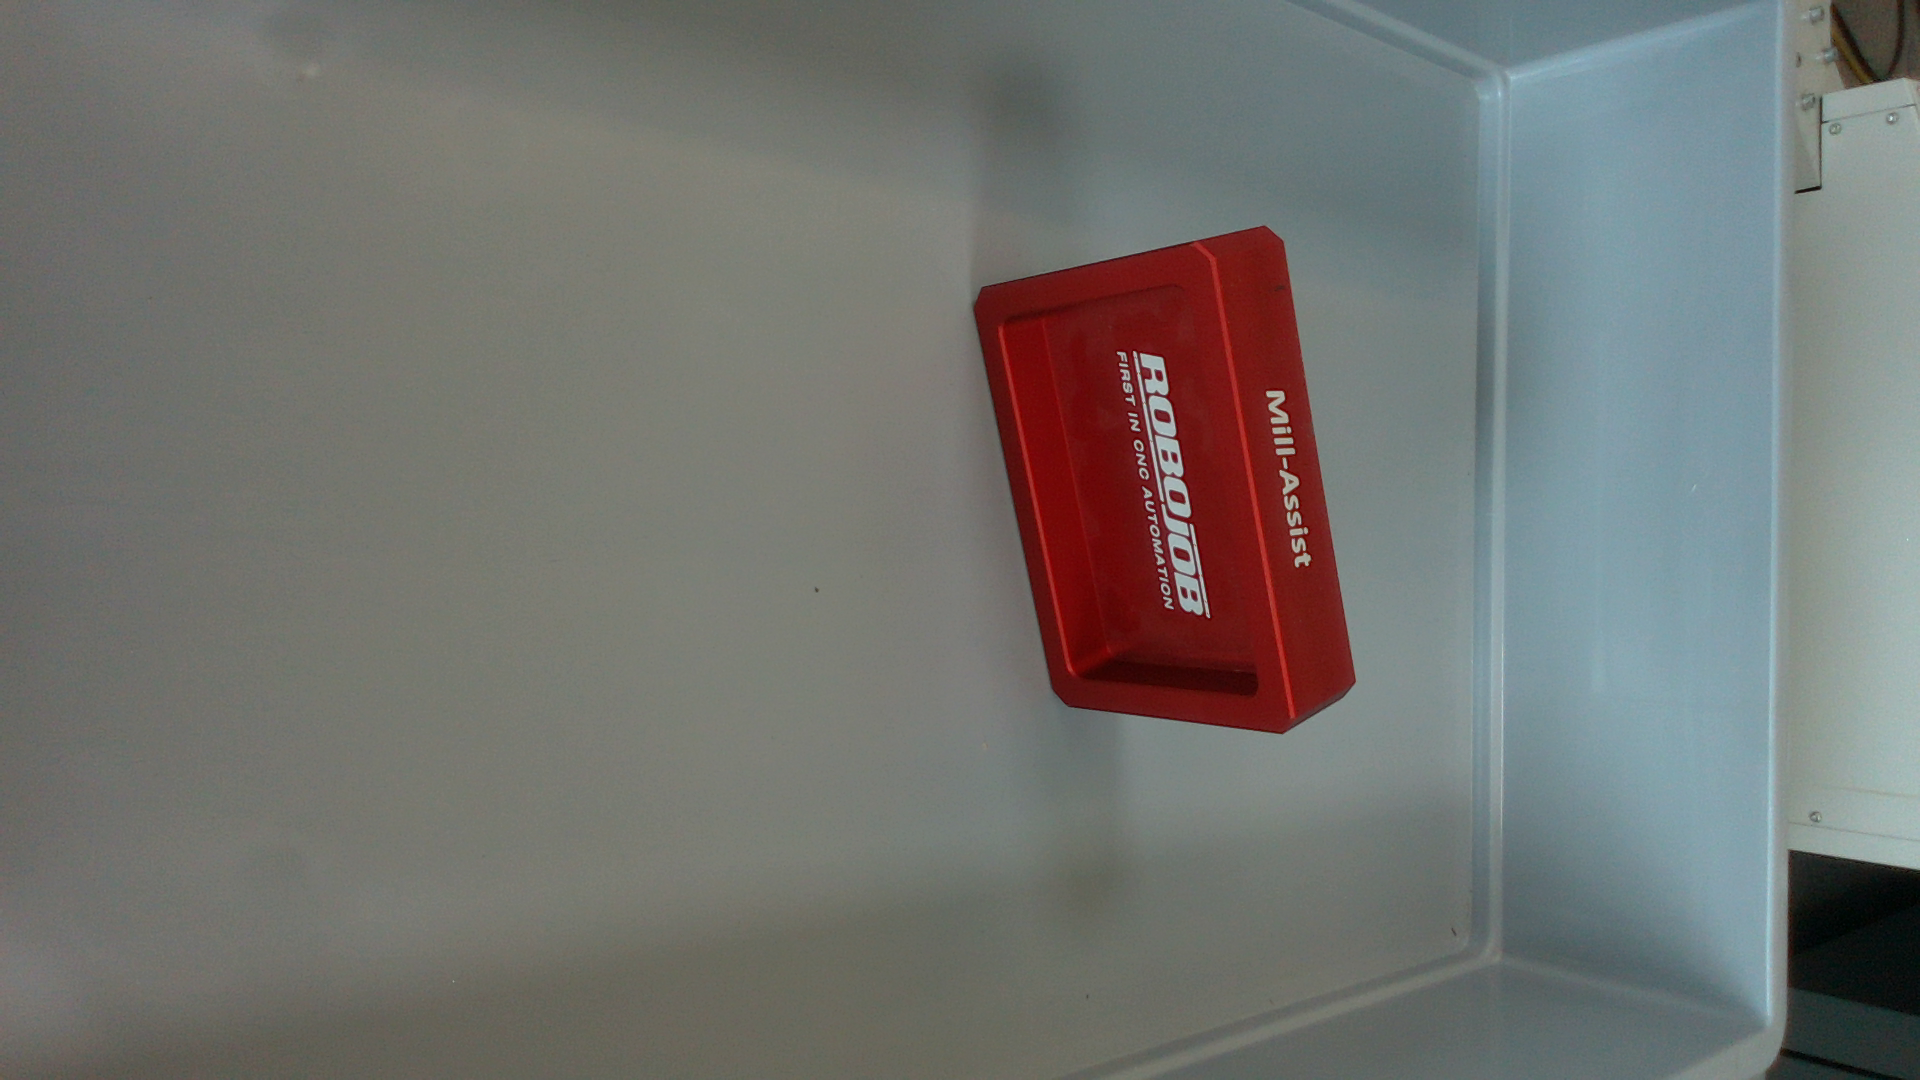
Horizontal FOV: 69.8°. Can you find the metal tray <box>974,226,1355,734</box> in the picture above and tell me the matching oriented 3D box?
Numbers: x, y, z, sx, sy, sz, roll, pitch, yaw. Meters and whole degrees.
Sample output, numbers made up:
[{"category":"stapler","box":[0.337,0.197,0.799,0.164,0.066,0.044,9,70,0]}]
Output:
[{"category":"metal tray","box":[0.056,-0.015,0.390,0.030,0.090,0.130,-21,103,-39]}]
